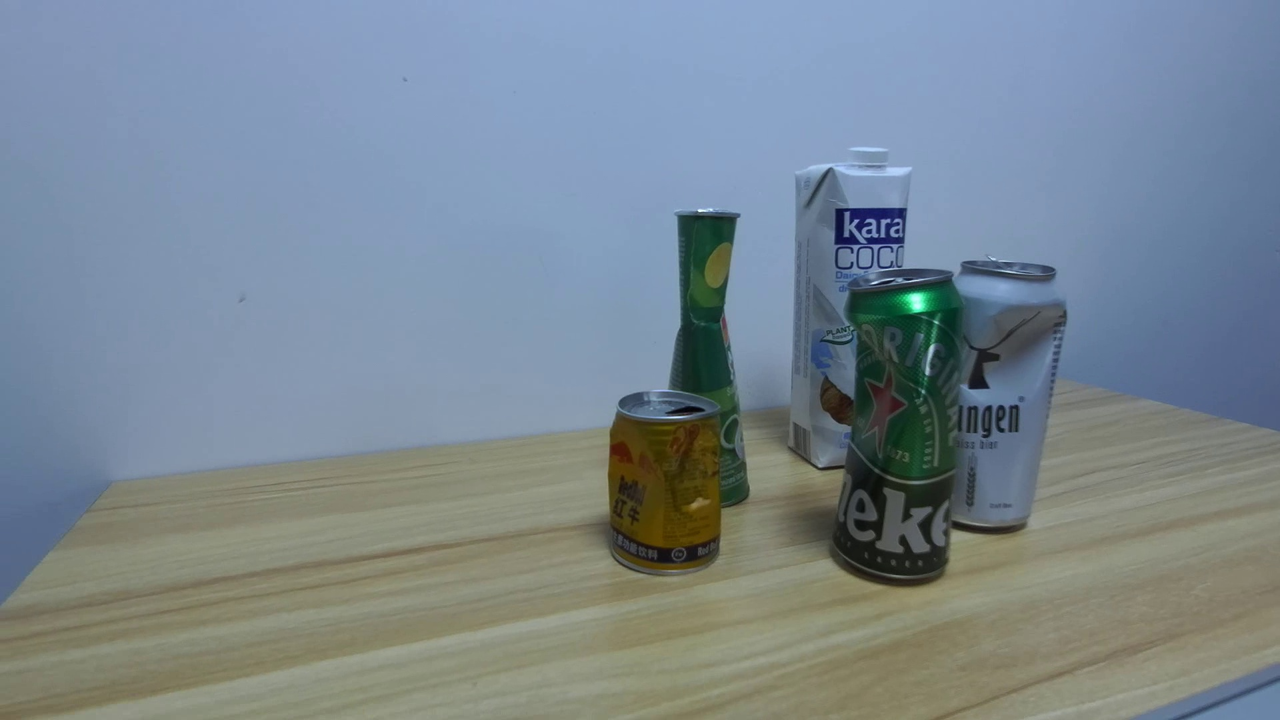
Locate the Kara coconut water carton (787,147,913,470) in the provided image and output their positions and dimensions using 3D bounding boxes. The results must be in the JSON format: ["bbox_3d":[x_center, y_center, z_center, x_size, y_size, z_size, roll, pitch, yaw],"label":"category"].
[{"bbox_3d":[0.164,-0.041,0.565,0.077,0.245,0.075,-3,12,-11],"label":"Kara coconut water carton"}]

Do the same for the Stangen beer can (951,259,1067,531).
[{"bbox_3d":[0.227,0.022,0.455,0.070,0.173,0.070,9,16,32],"label":"Stangen beer can"}]

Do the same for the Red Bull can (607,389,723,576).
[{"bbox_3d":[0.016,0.069,0.413,0.072,0.092,0.072,1,13,0],"label":"Red Bull can"}]

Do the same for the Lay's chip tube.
[{"bbox_3d":[0.045,-0.001,0.492,0.069,0.199,0.074,-7,12,-31],"label":"Lay's chip tube"}]

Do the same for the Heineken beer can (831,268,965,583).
[{"bbox_3d":[0.144,0.037,0.397,0.069,0.168,0.069,7,14,43],"label":"Heineken beer can"}]
